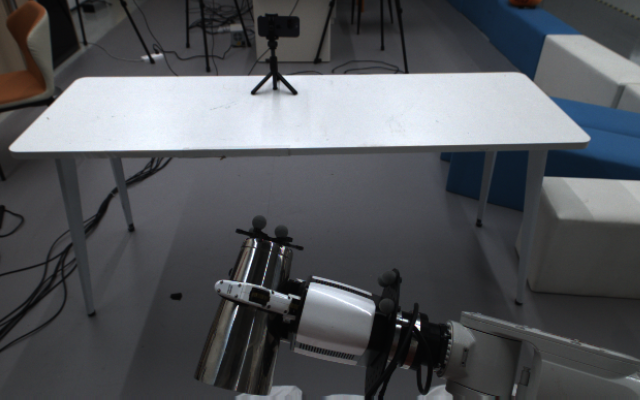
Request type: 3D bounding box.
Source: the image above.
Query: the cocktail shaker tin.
[{"bbox_3d":[-0.085,0.139,0.590,0.093,0.093,0.170,11,74,12],"label":"cocktail shaker tin"}]
